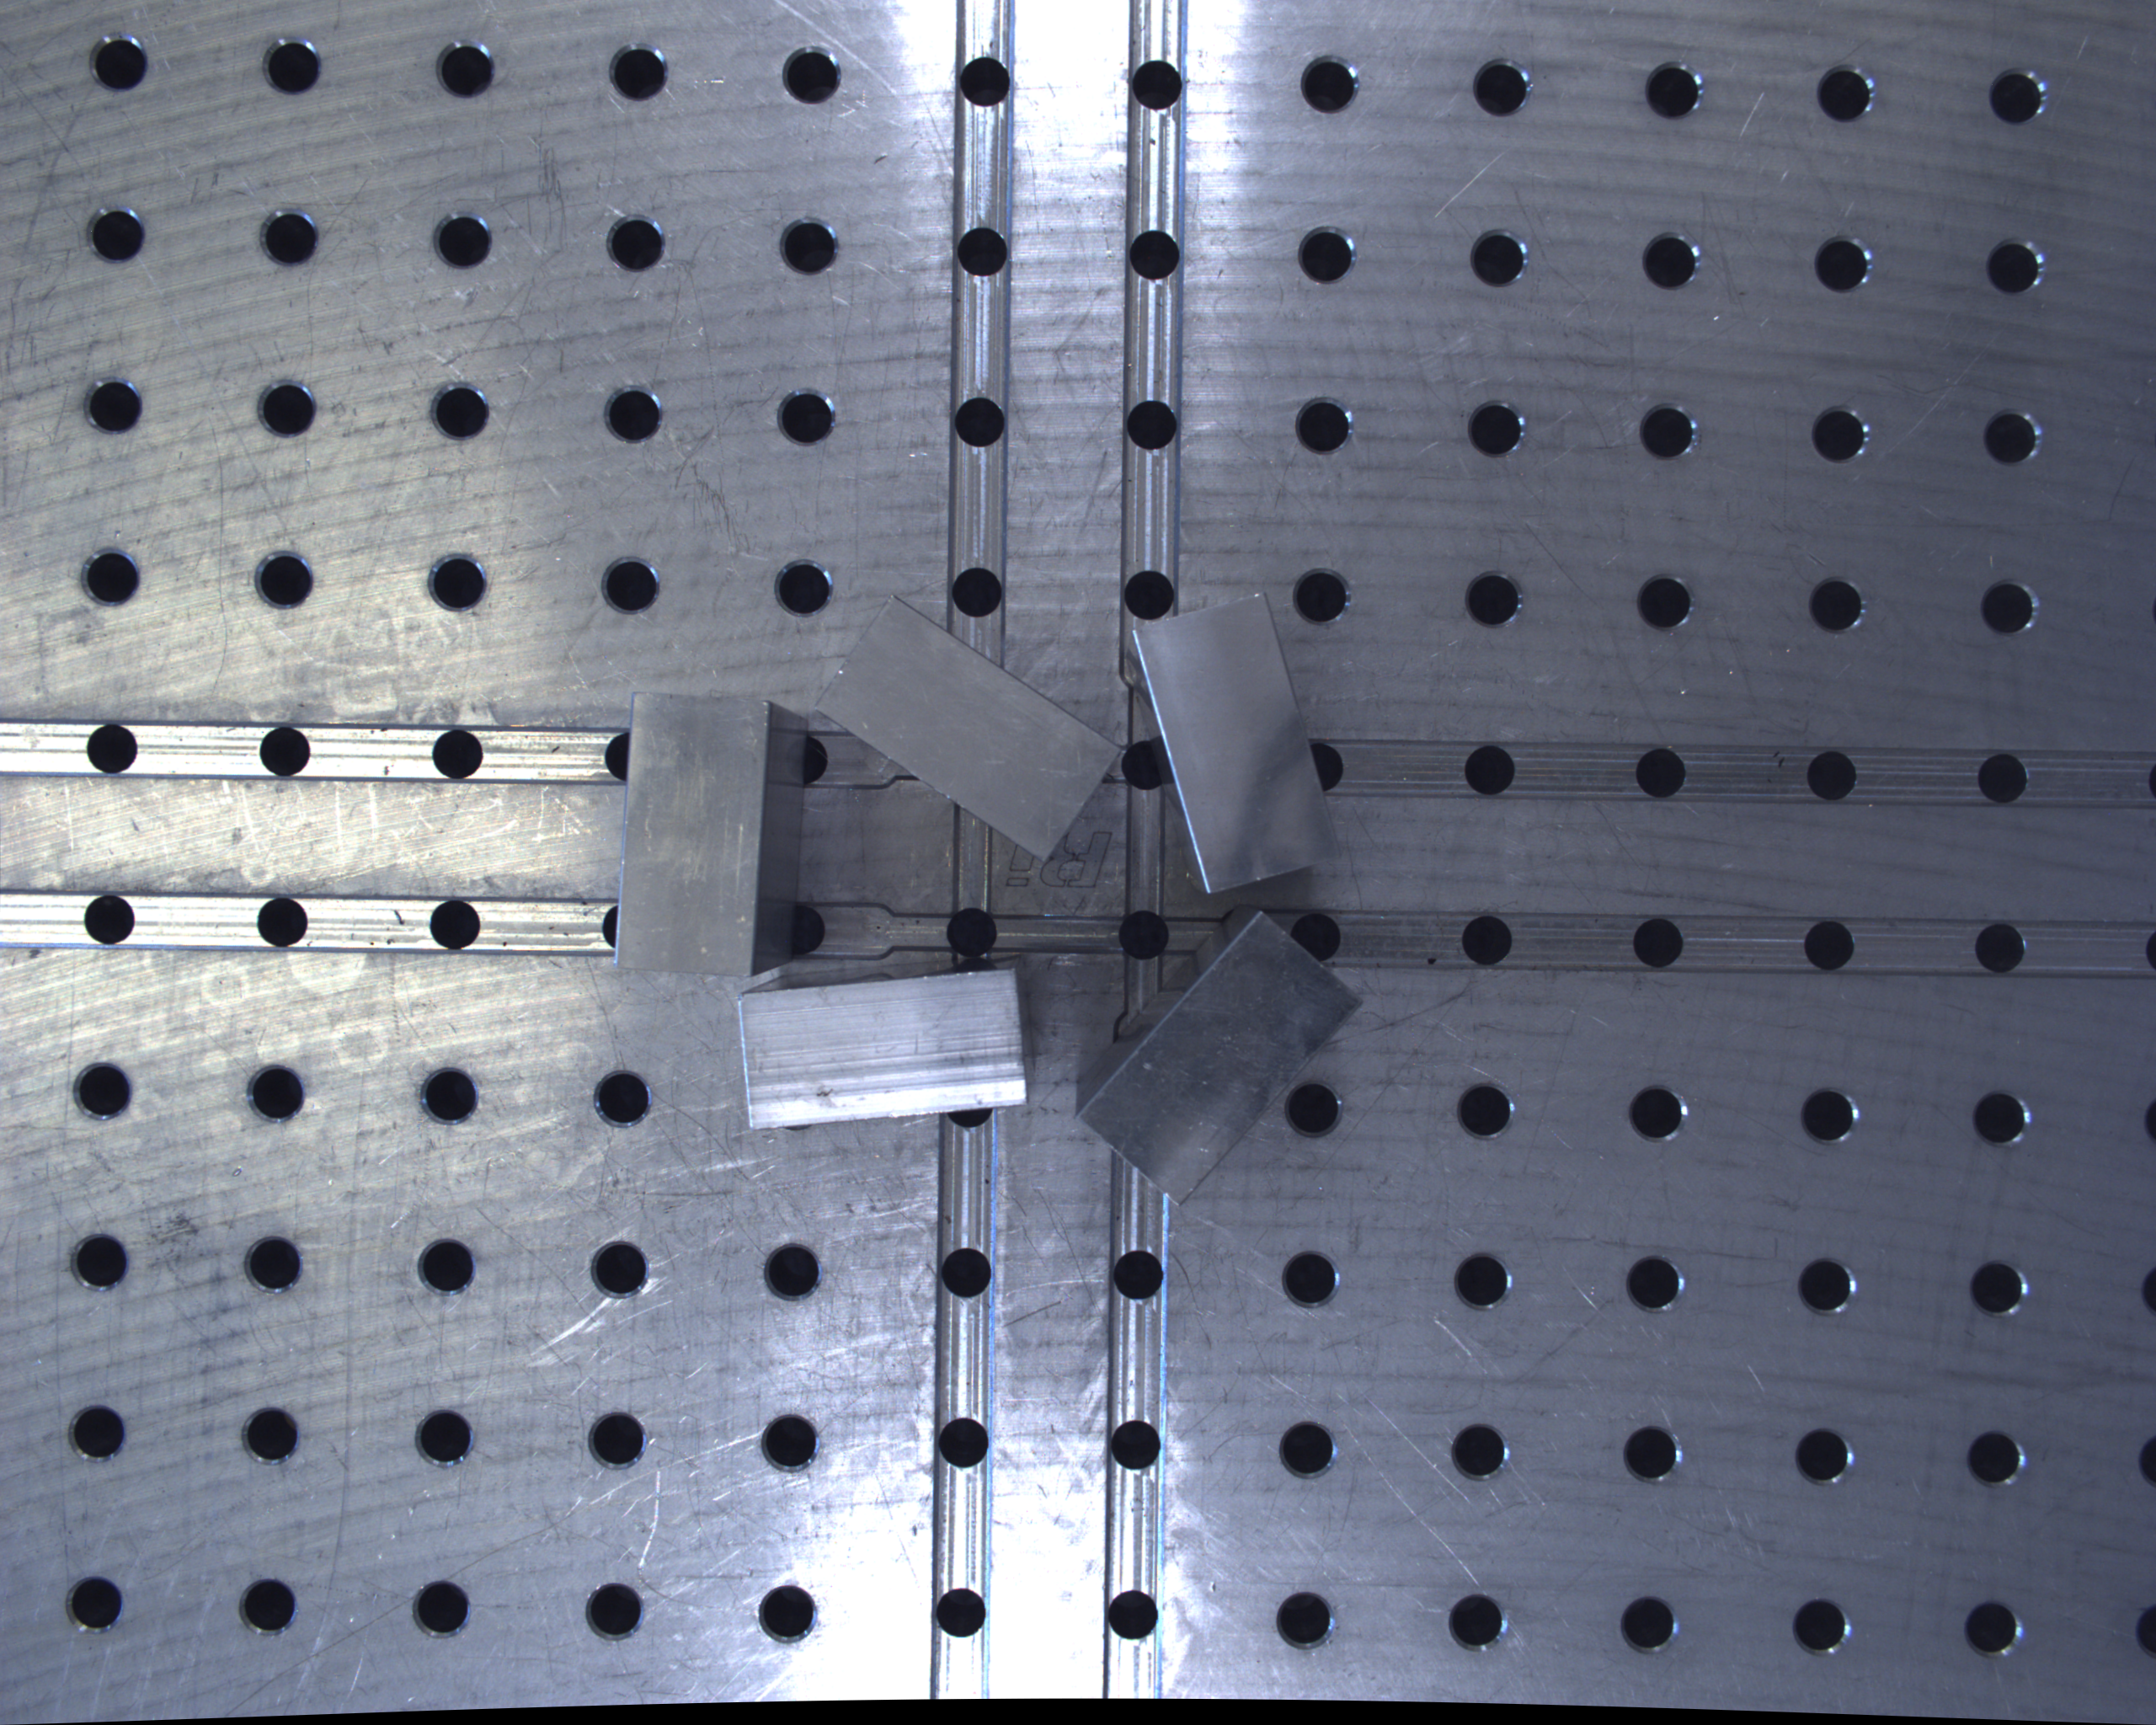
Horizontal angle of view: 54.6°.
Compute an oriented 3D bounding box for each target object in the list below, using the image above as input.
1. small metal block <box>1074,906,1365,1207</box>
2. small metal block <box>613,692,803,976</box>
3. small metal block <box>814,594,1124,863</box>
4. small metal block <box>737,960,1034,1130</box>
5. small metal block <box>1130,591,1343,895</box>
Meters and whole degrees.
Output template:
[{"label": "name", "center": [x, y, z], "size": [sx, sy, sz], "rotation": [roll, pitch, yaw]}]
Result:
[{"label": "small metal block", "center": [0.026, 0.035, 0.400], "size": [0.025, 0.050, 0.050], "rotation": [42, 90, 1]}, {"label": "small metal block", "center": [-0.069, -0.005, 0.400], "size": [0.025, 0.050, 0.050], "rotation": [4, 91, 0]}, {"label": "small metal block", "center": [-0.020, -0.025, 0.401], "size": [0.050, 0.050, 0.025], "rotation": [34, 91, -1]}, {"label": "small metal block", "center": [-0.035, 0.034, 0.400], "size": [0.050, 0.050, 0.025], "rotation": [-5, 90, 0]}, {"label": "small metal block", "center": [0.029, -0.021, 0.400], "size": [0.025, 0.050, 0.050], "rotation": [-16, 89, 0]}]
